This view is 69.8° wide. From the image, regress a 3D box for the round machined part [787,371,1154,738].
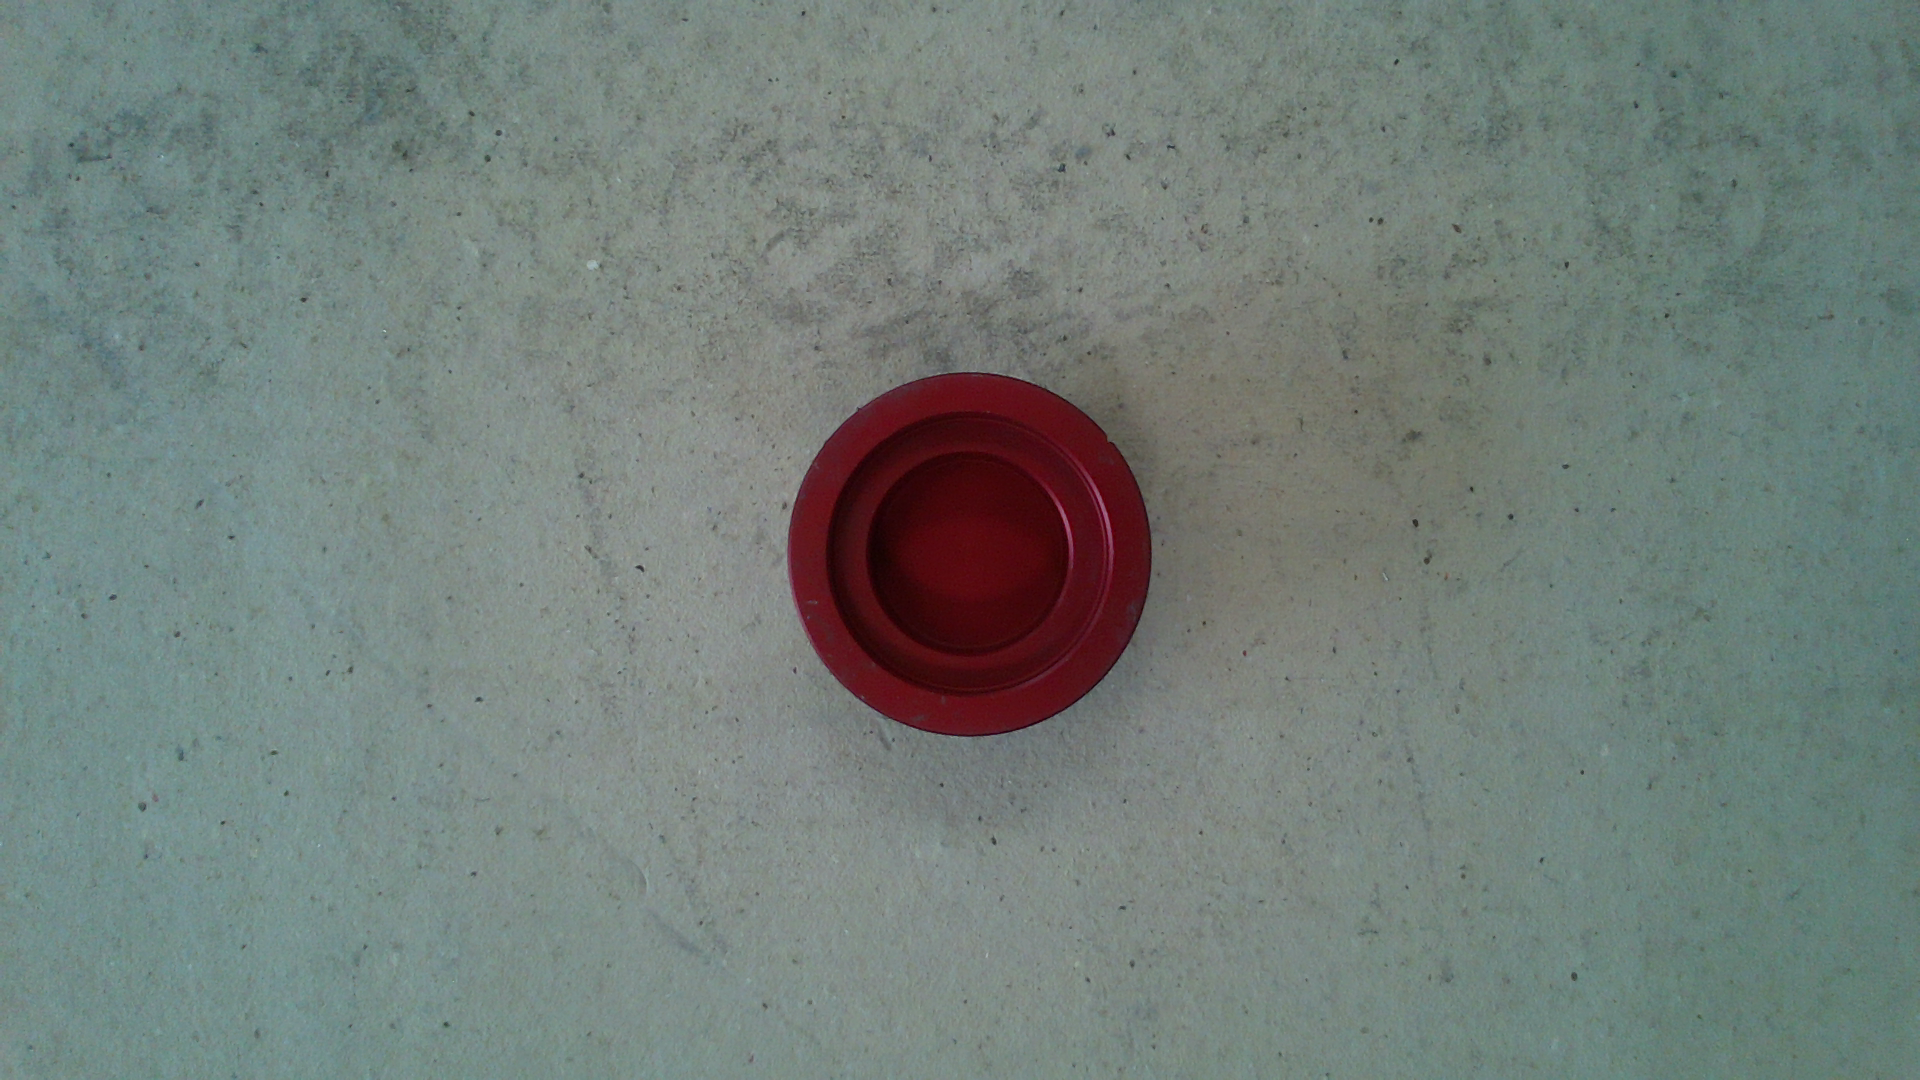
[{"bbox_3d":[0.003,0.004,0.387,0.098,0.042,0.098,0,90,0],"label":"round machined part"}]
